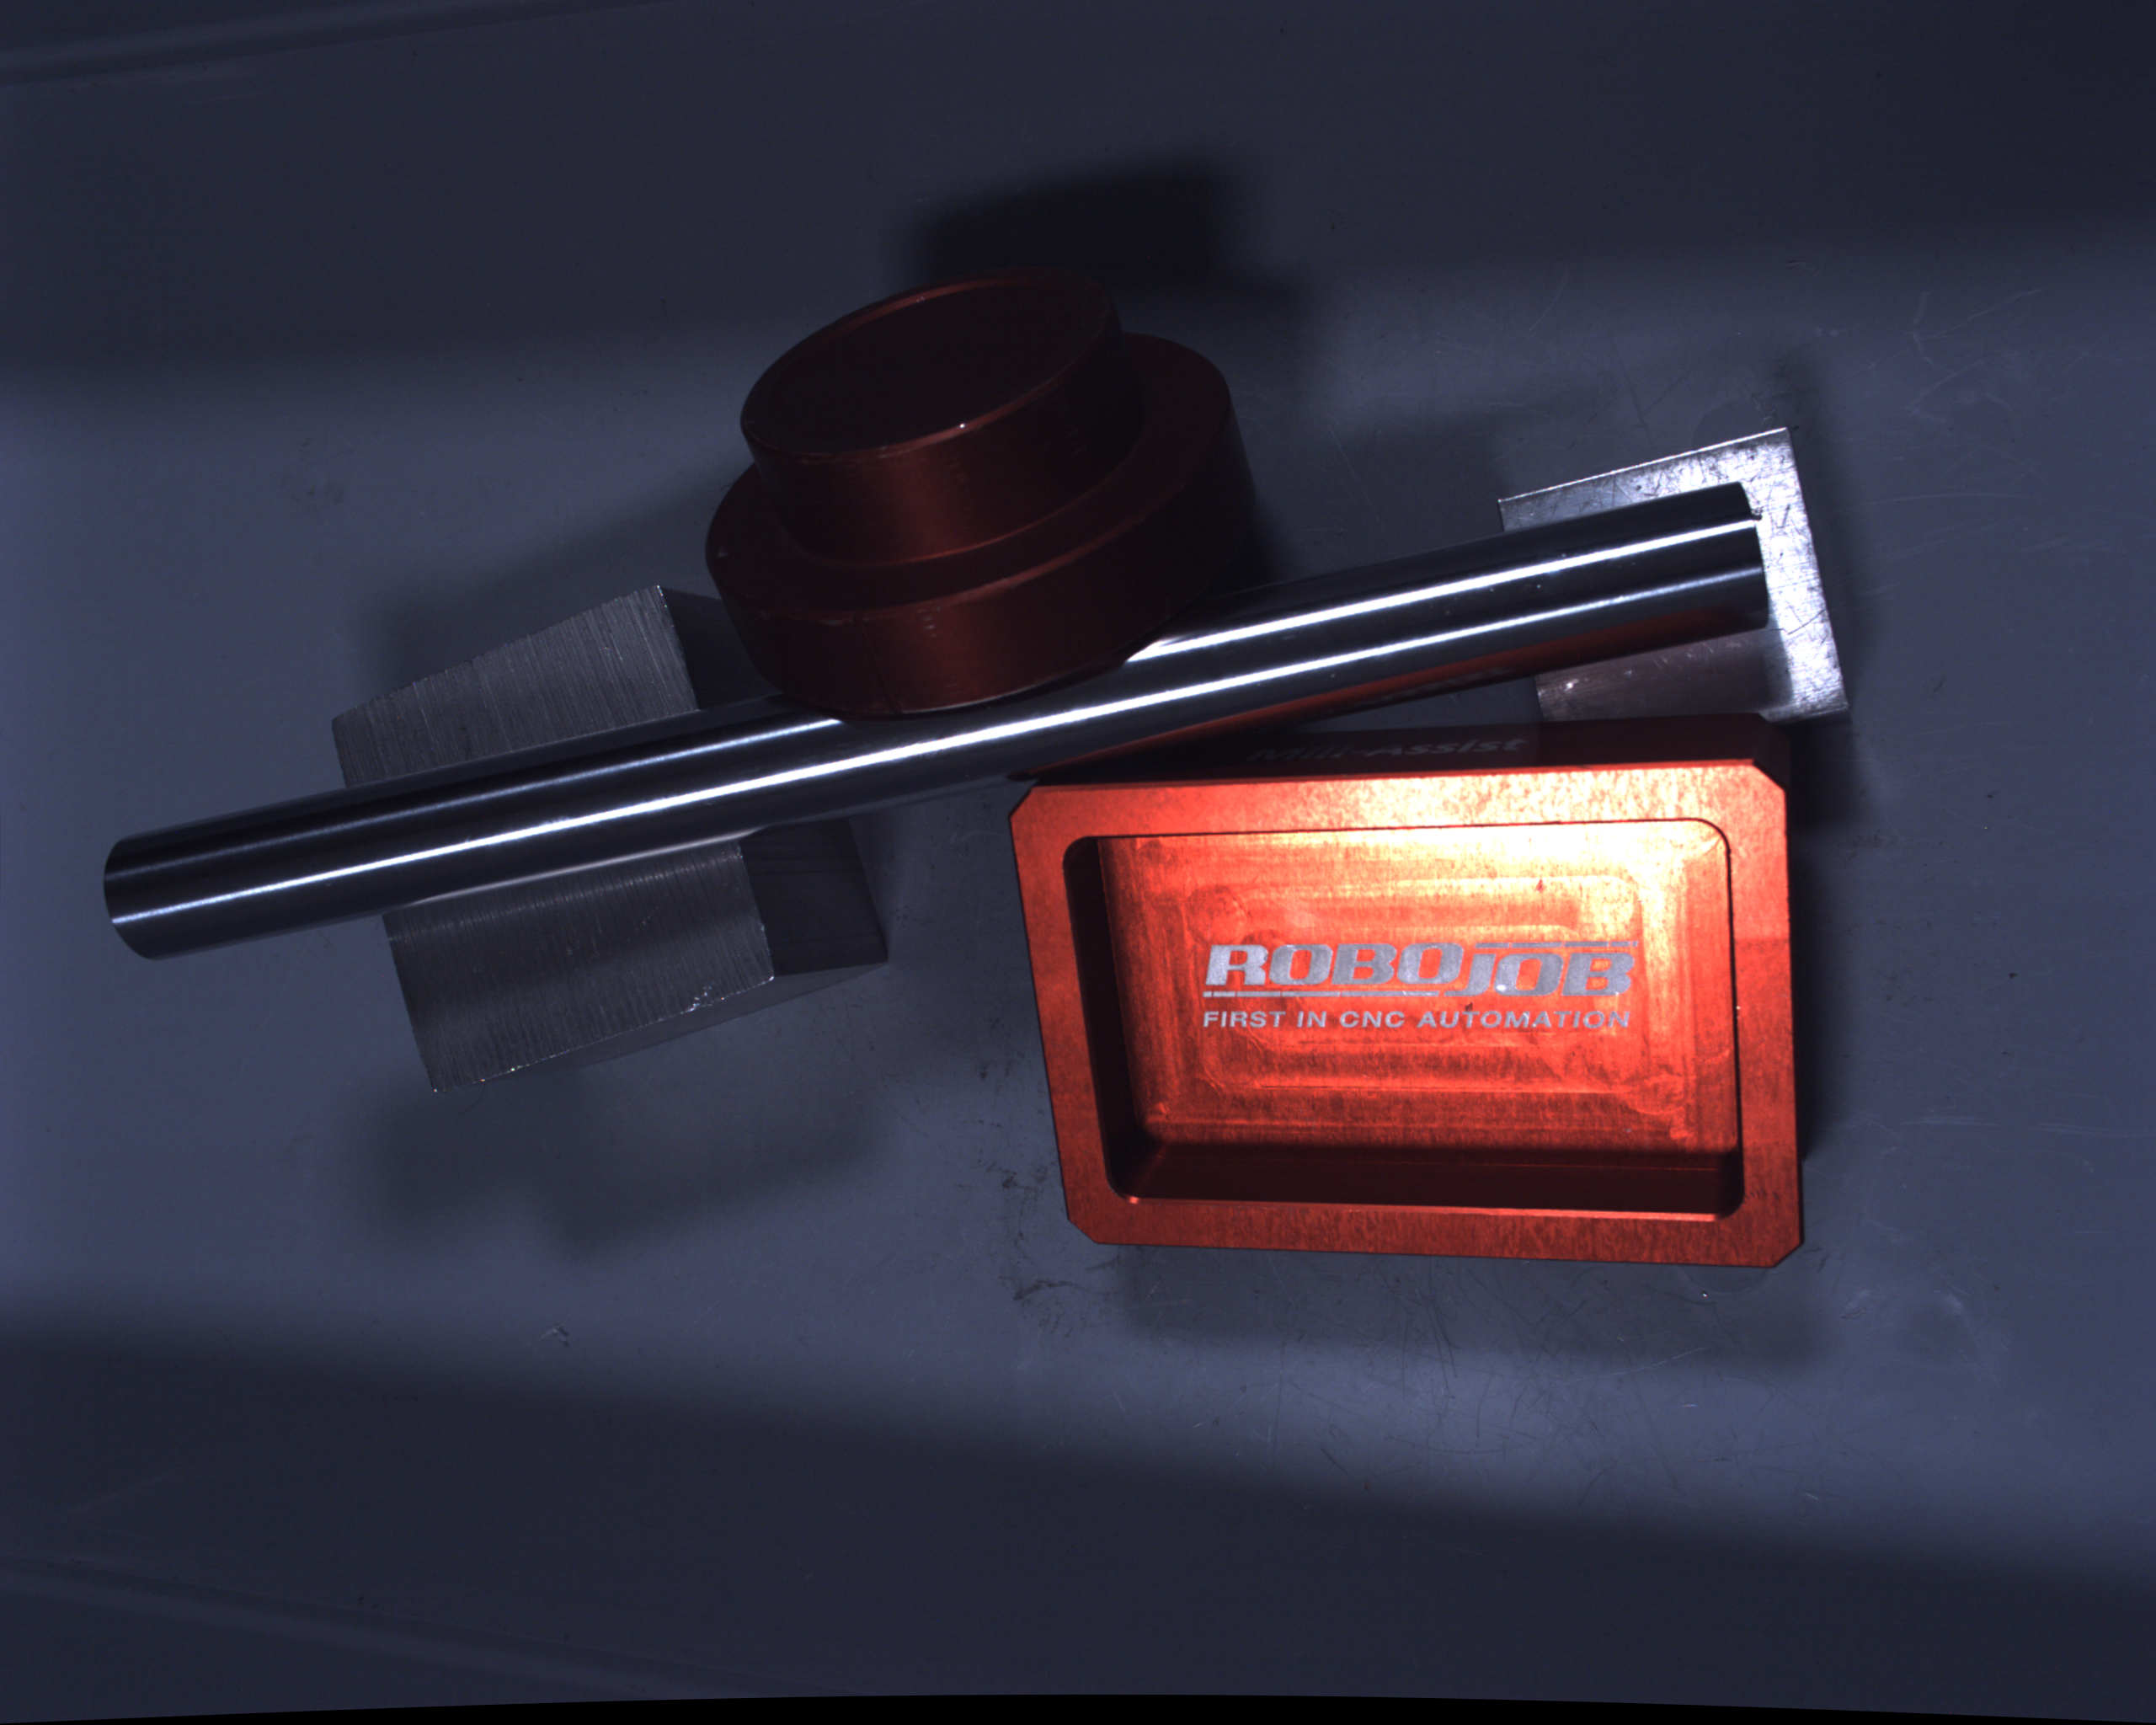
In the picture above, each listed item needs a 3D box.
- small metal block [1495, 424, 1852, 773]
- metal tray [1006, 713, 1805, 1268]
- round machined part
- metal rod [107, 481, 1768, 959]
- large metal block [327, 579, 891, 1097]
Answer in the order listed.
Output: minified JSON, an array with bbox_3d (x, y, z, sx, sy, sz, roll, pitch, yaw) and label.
[{"bbox_3d":[0.106,-0.045,0.371,0.050,0.025,0.050,-12,86,19],"label":"small metal block"},{"bbox_3d":[0.059,0.023,0.370,0.130,0.030,0.089,-2,109,19],"label":"metal tray"},{"bbox_3d":[-0.021,-0.072,0.374,0.098,0.098,0.042,-5,129,19],"label":"round machined part"},{"bbox_3d":[-0.034,-0.022,0.372,0.301,0.025,0.025,-11,86,12],"label":"metal rod"},{"bbox_3d":[-0.095,-0.004,0.427,0.080,0.050,0.080,-19,84,18],"label":"large metal block"}]
